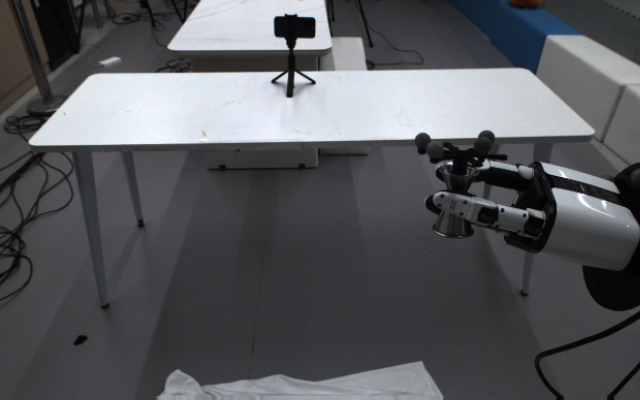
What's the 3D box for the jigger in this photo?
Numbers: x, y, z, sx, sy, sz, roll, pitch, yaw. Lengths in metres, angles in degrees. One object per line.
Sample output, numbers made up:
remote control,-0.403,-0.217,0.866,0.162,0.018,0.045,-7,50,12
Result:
jigger,0.143,0.000,0.514,0.043,0.071,0.043,0,21,0
